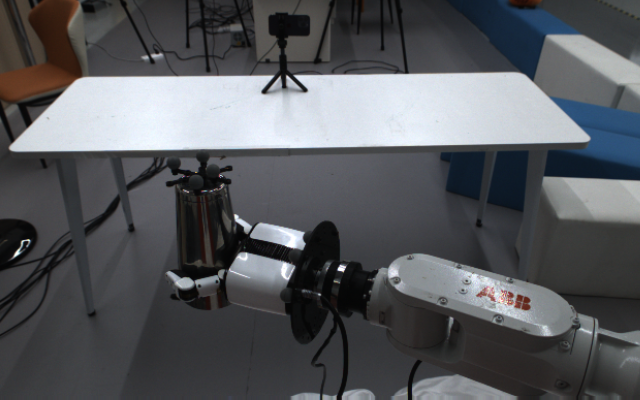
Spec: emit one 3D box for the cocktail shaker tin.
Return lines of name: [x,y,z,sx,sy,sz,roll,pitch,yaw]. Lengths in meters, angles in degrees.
cocktail shaker tin: [-0.150,0.052,0.650,0.093,0.170,0.093,1,28,0]
